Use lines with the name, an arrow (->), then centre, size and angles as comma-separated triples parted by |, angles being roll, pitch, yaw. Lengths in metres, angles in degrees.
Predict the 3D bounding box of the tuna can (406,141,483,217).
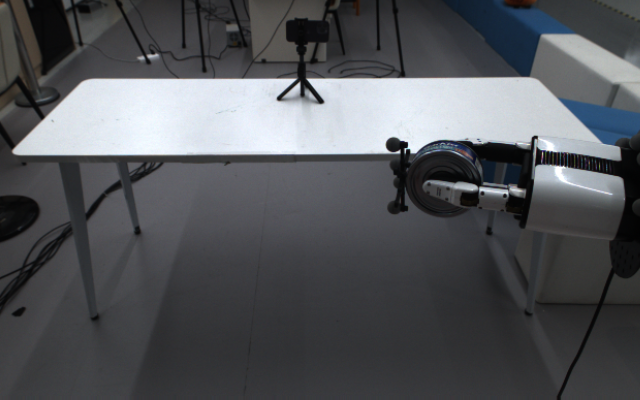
tuna can -> 0.145, -0.029, 0.559 | 0.085, 0.085, 0.034 | 12, 27, 14
